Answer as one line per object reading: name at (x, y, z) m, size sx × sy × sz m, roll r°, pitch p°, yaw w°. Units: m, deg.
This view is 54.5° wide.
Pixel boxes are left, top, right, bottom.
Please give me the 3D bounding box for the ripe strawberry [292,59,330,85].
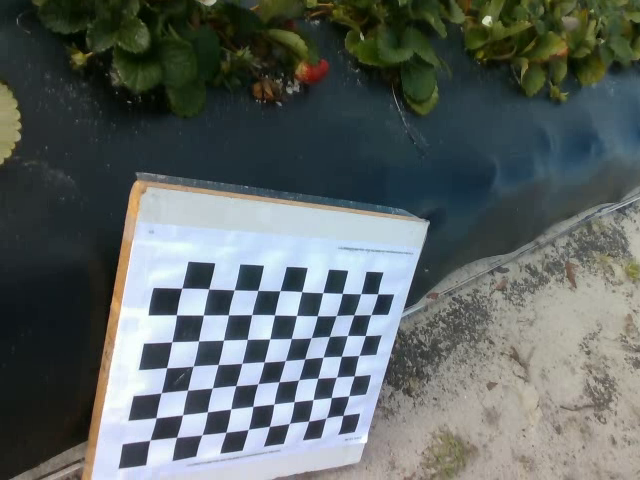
ripe strawberry at (-0.007, -0.116, 0.404) m, size 0.027 × 0.022 × 0.021 m, roll -18°, pitch 38°, yaw -18°
